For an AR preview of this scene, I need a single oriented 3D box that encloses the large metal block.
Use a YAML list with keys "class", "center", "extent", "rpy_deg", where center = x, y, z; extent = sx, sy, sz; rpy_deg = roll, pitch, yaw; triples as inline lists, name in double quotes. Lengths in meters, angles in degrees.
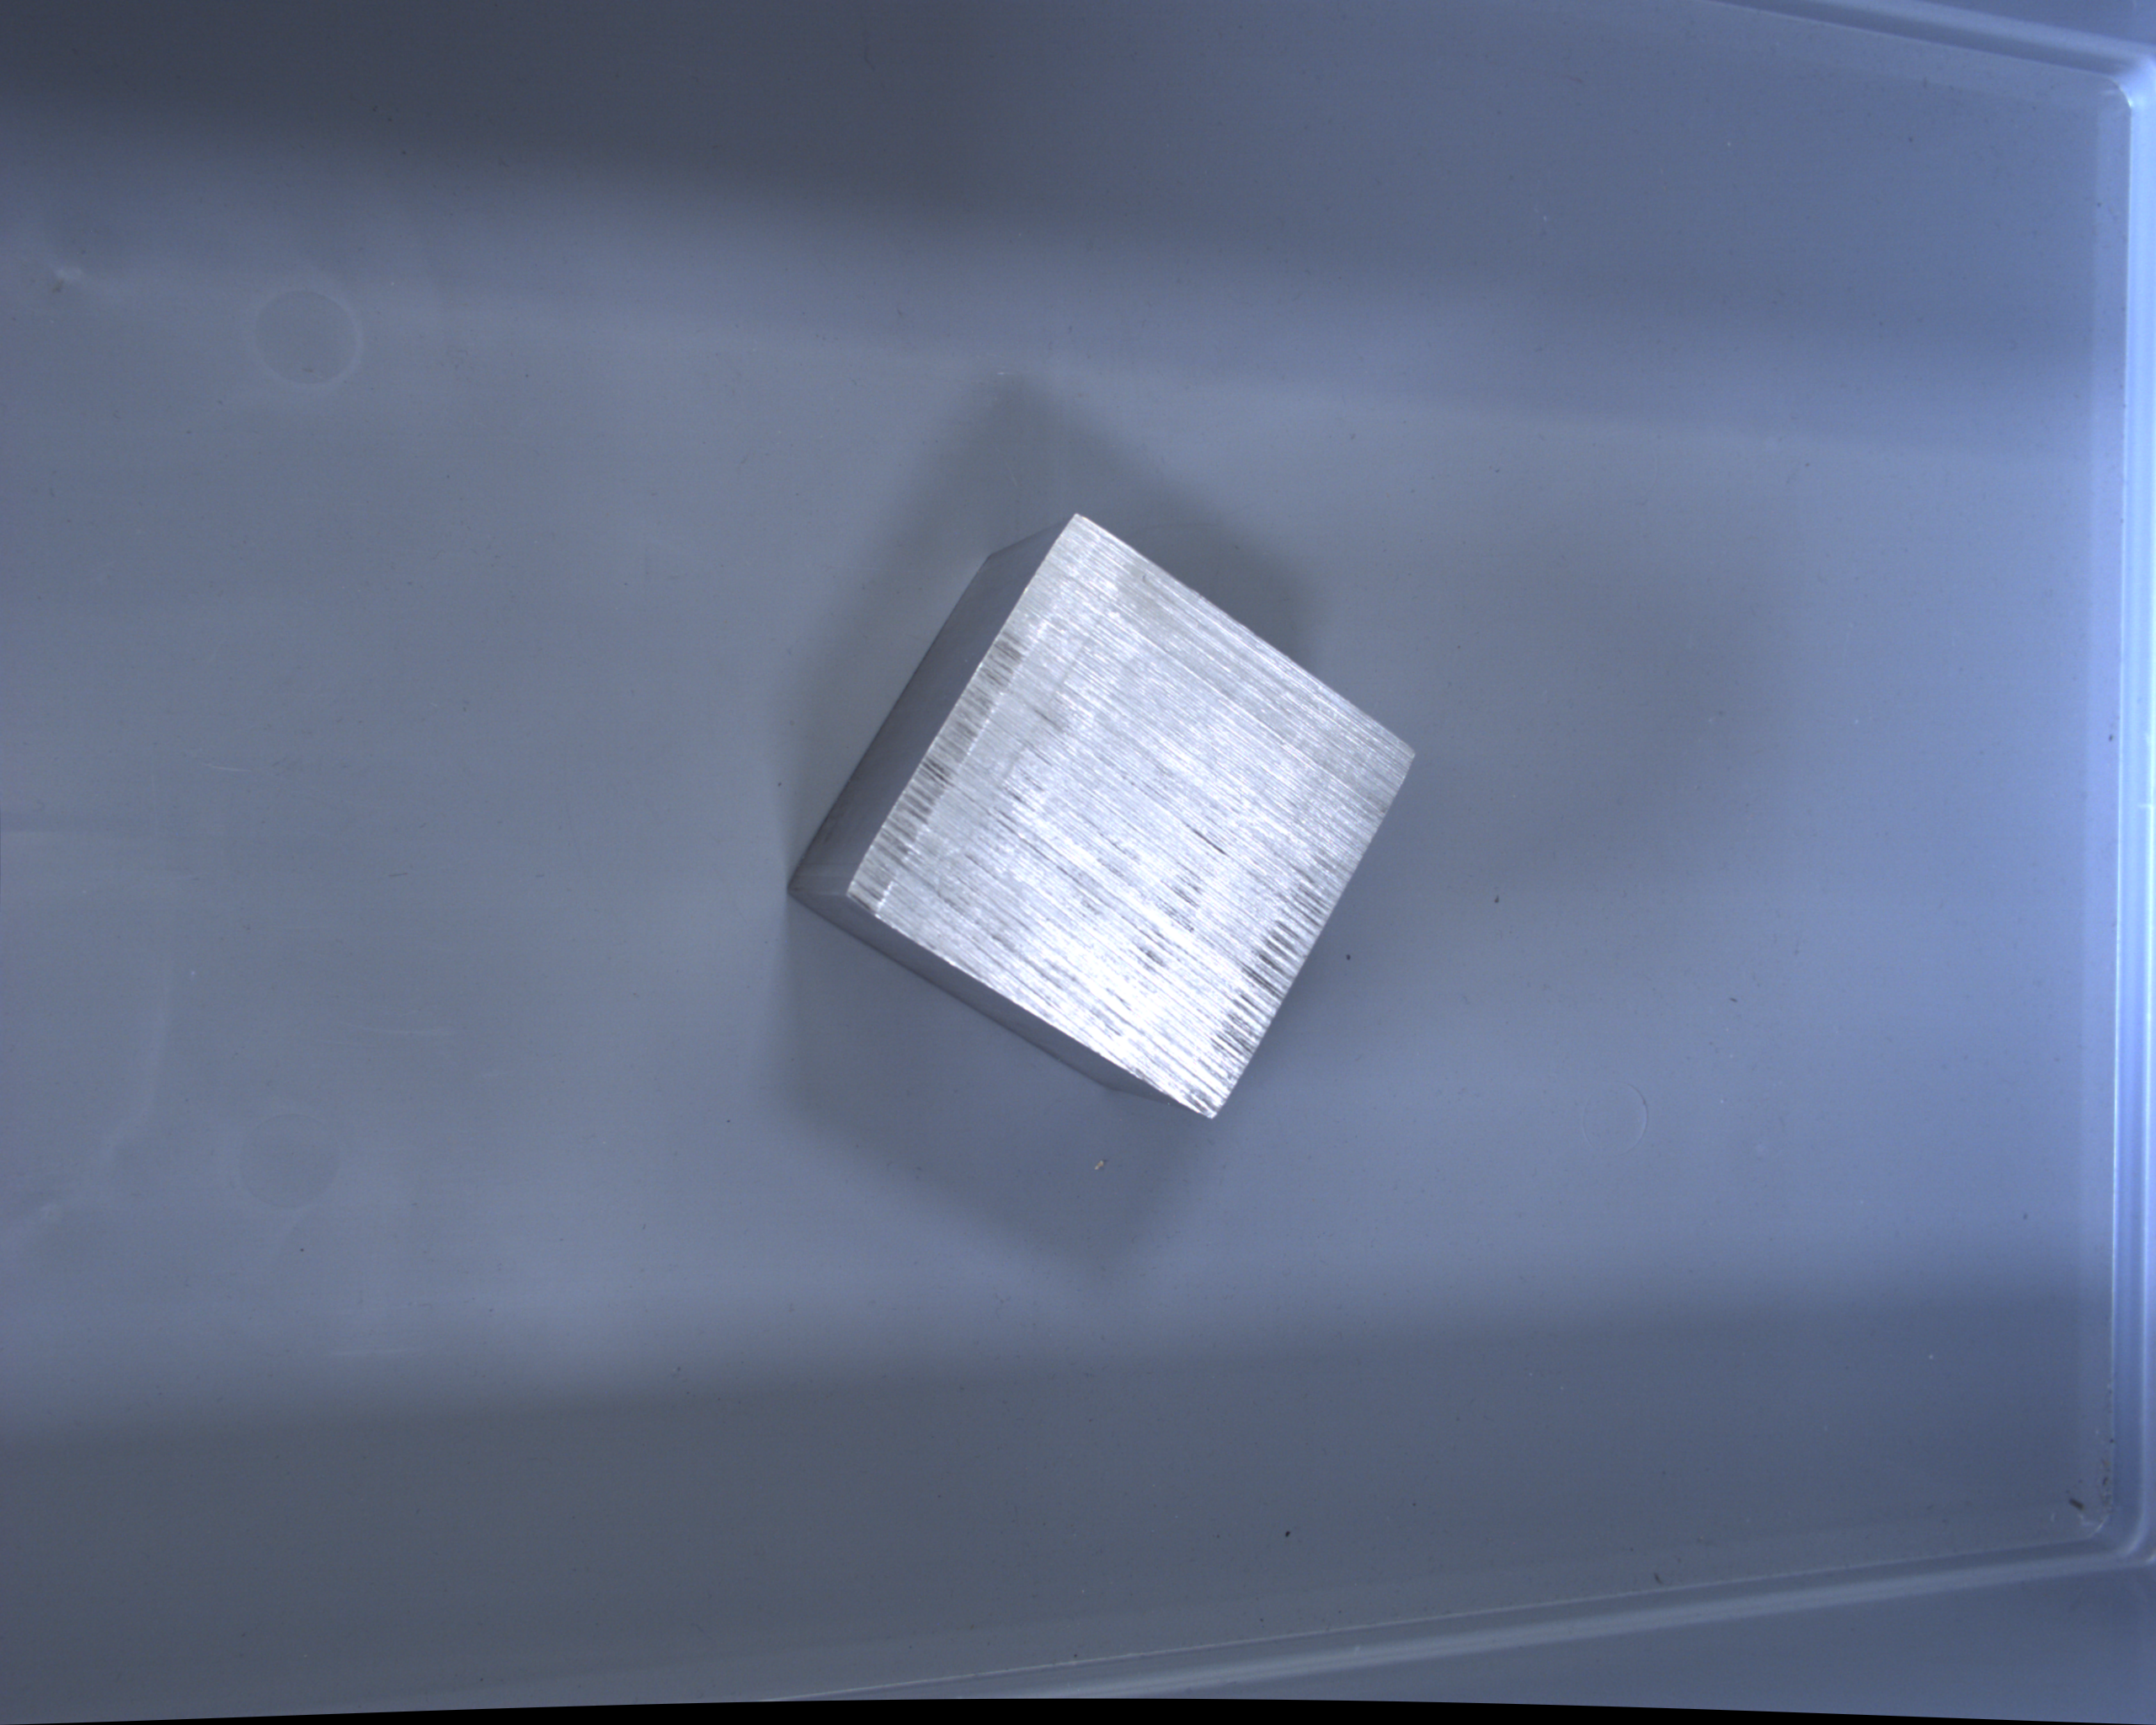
- class: "large metal block"
  center: [0.003, -0.008, 0.395]
  extent: [0.080, 0.050, 0.080]
  rpy_deg: [33, 79, -17]
